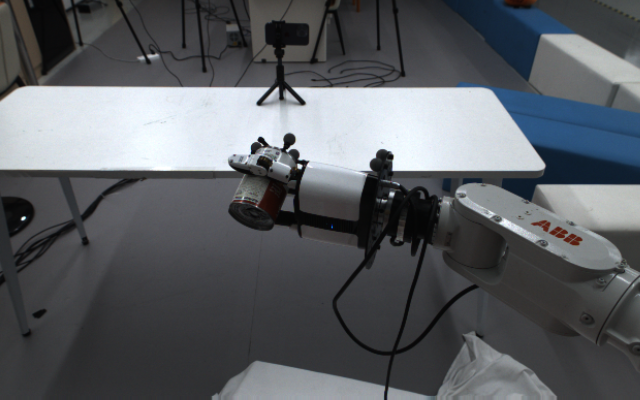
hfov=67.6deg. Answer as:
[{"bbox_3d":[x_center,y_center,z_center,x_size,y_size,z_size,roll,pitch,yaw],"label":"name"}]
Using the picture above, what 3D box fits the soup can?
[{"bbox_3d":[-0.079,-0.018,0.680,0.067,0.067,0.101,12,59,14],"label":"soup can"}]
